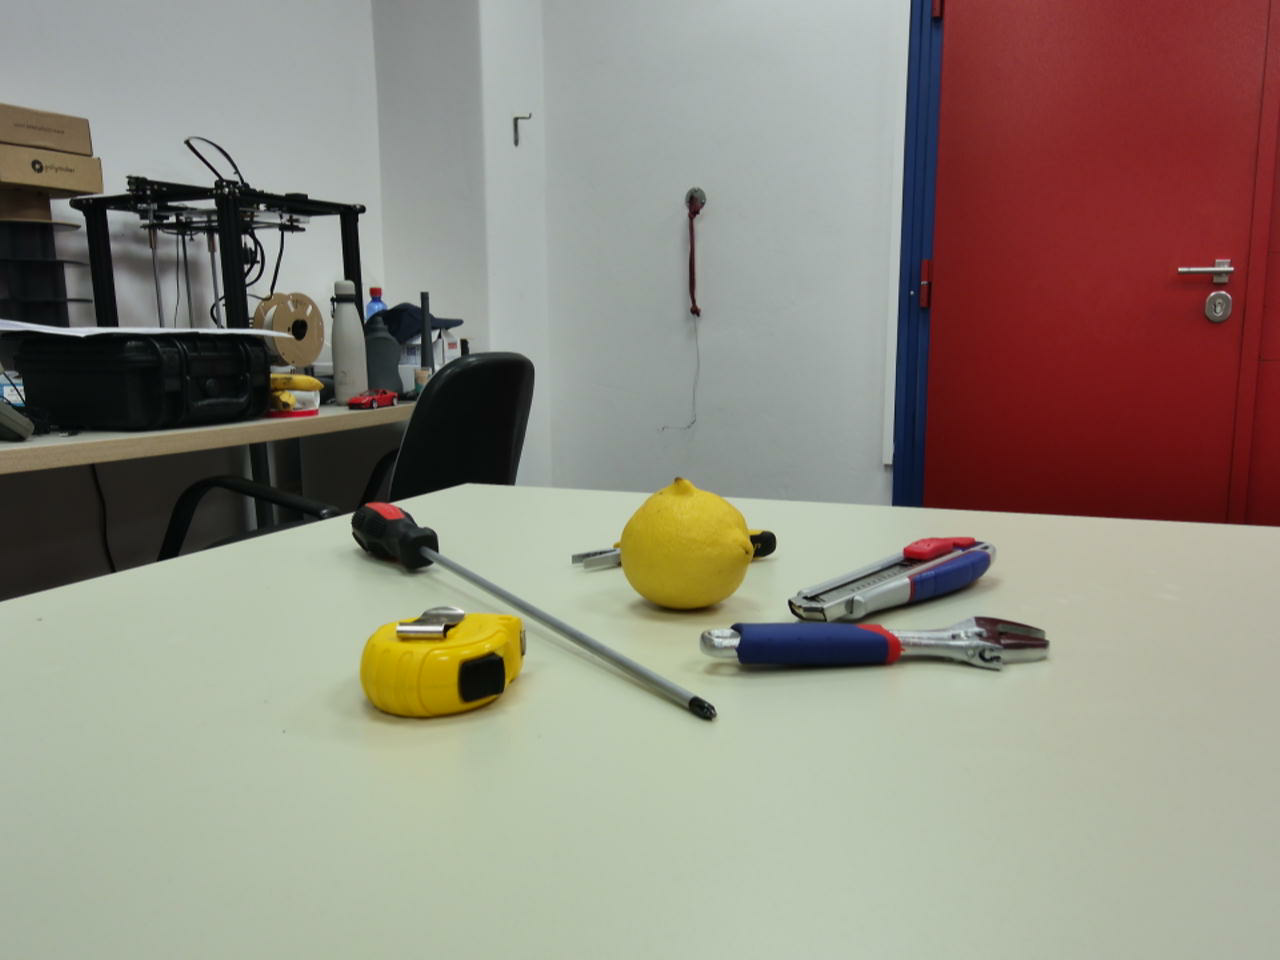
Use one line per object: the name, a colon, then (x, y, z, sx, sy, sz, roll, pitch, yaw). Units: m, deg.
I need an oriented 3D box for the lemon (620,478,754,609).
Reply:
lemon: (0.025, 0.034, 0.547, 0.070, 0.071, 0.071, -1, 6, -10)
